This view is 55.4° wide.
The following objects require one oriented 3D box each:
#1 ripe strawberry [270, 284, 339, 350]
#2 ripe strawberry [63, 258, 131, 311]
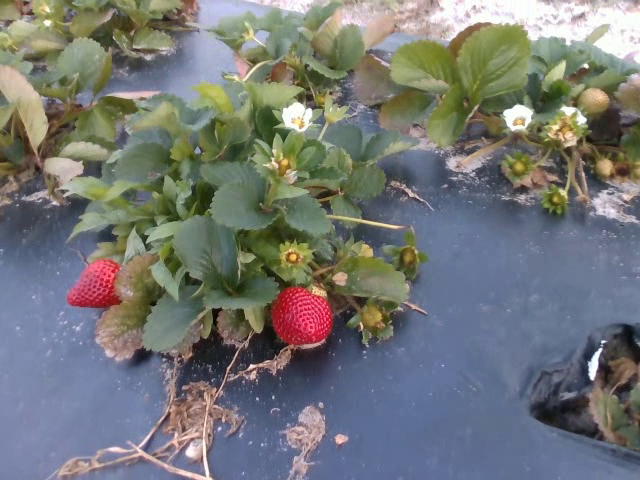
[{"bbox_3d":[-0.013,0.053,0.401,0.043,0.047,0.046,-40,28,-1],"label":"ripe strawberry"},{"bbox_3d":[-0.166,0.037,0.452,0.043,0.043,0.050,32,55,31],"label":"ripe strawberry"}]
